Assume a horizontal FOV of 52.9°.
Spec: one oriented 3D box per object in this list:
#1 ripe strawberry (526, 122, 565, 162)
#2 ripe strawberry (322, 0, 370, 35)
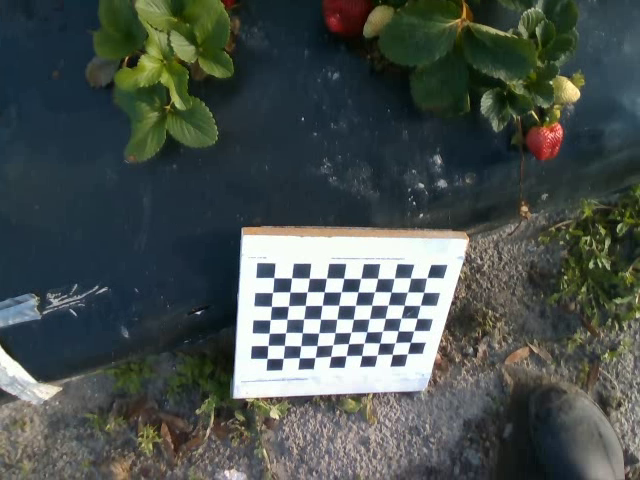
[{"bbox_3d":[0.278,-0.118,0.774,0.047,0.050,0.034,-16,29,1],"label":"ripe strawberry"},{"bbox_3d":[0.025,-0.272,0.744,0.070,0.058,0.057,-6,37,-38],"label":"ripe strawberry"}]
